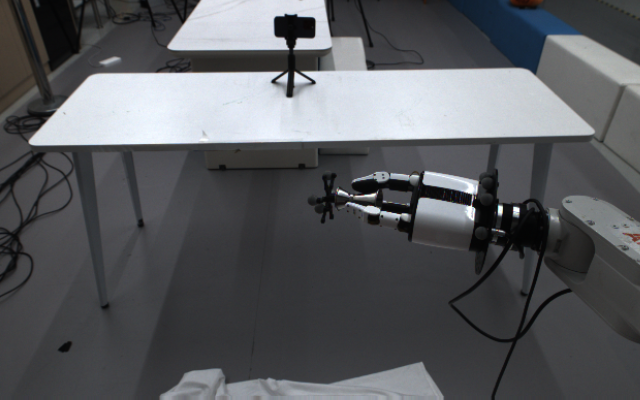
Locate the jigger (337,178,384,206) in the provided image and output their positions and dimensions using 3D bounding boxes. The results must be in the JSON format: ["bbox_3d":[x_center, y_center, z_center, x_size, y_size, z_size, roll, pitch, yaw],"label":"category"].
[{"bbox_3d":[0.068,-0.007,0.766,0.071,0.043,0.043,5,34,21],"label":"jigger"}]
